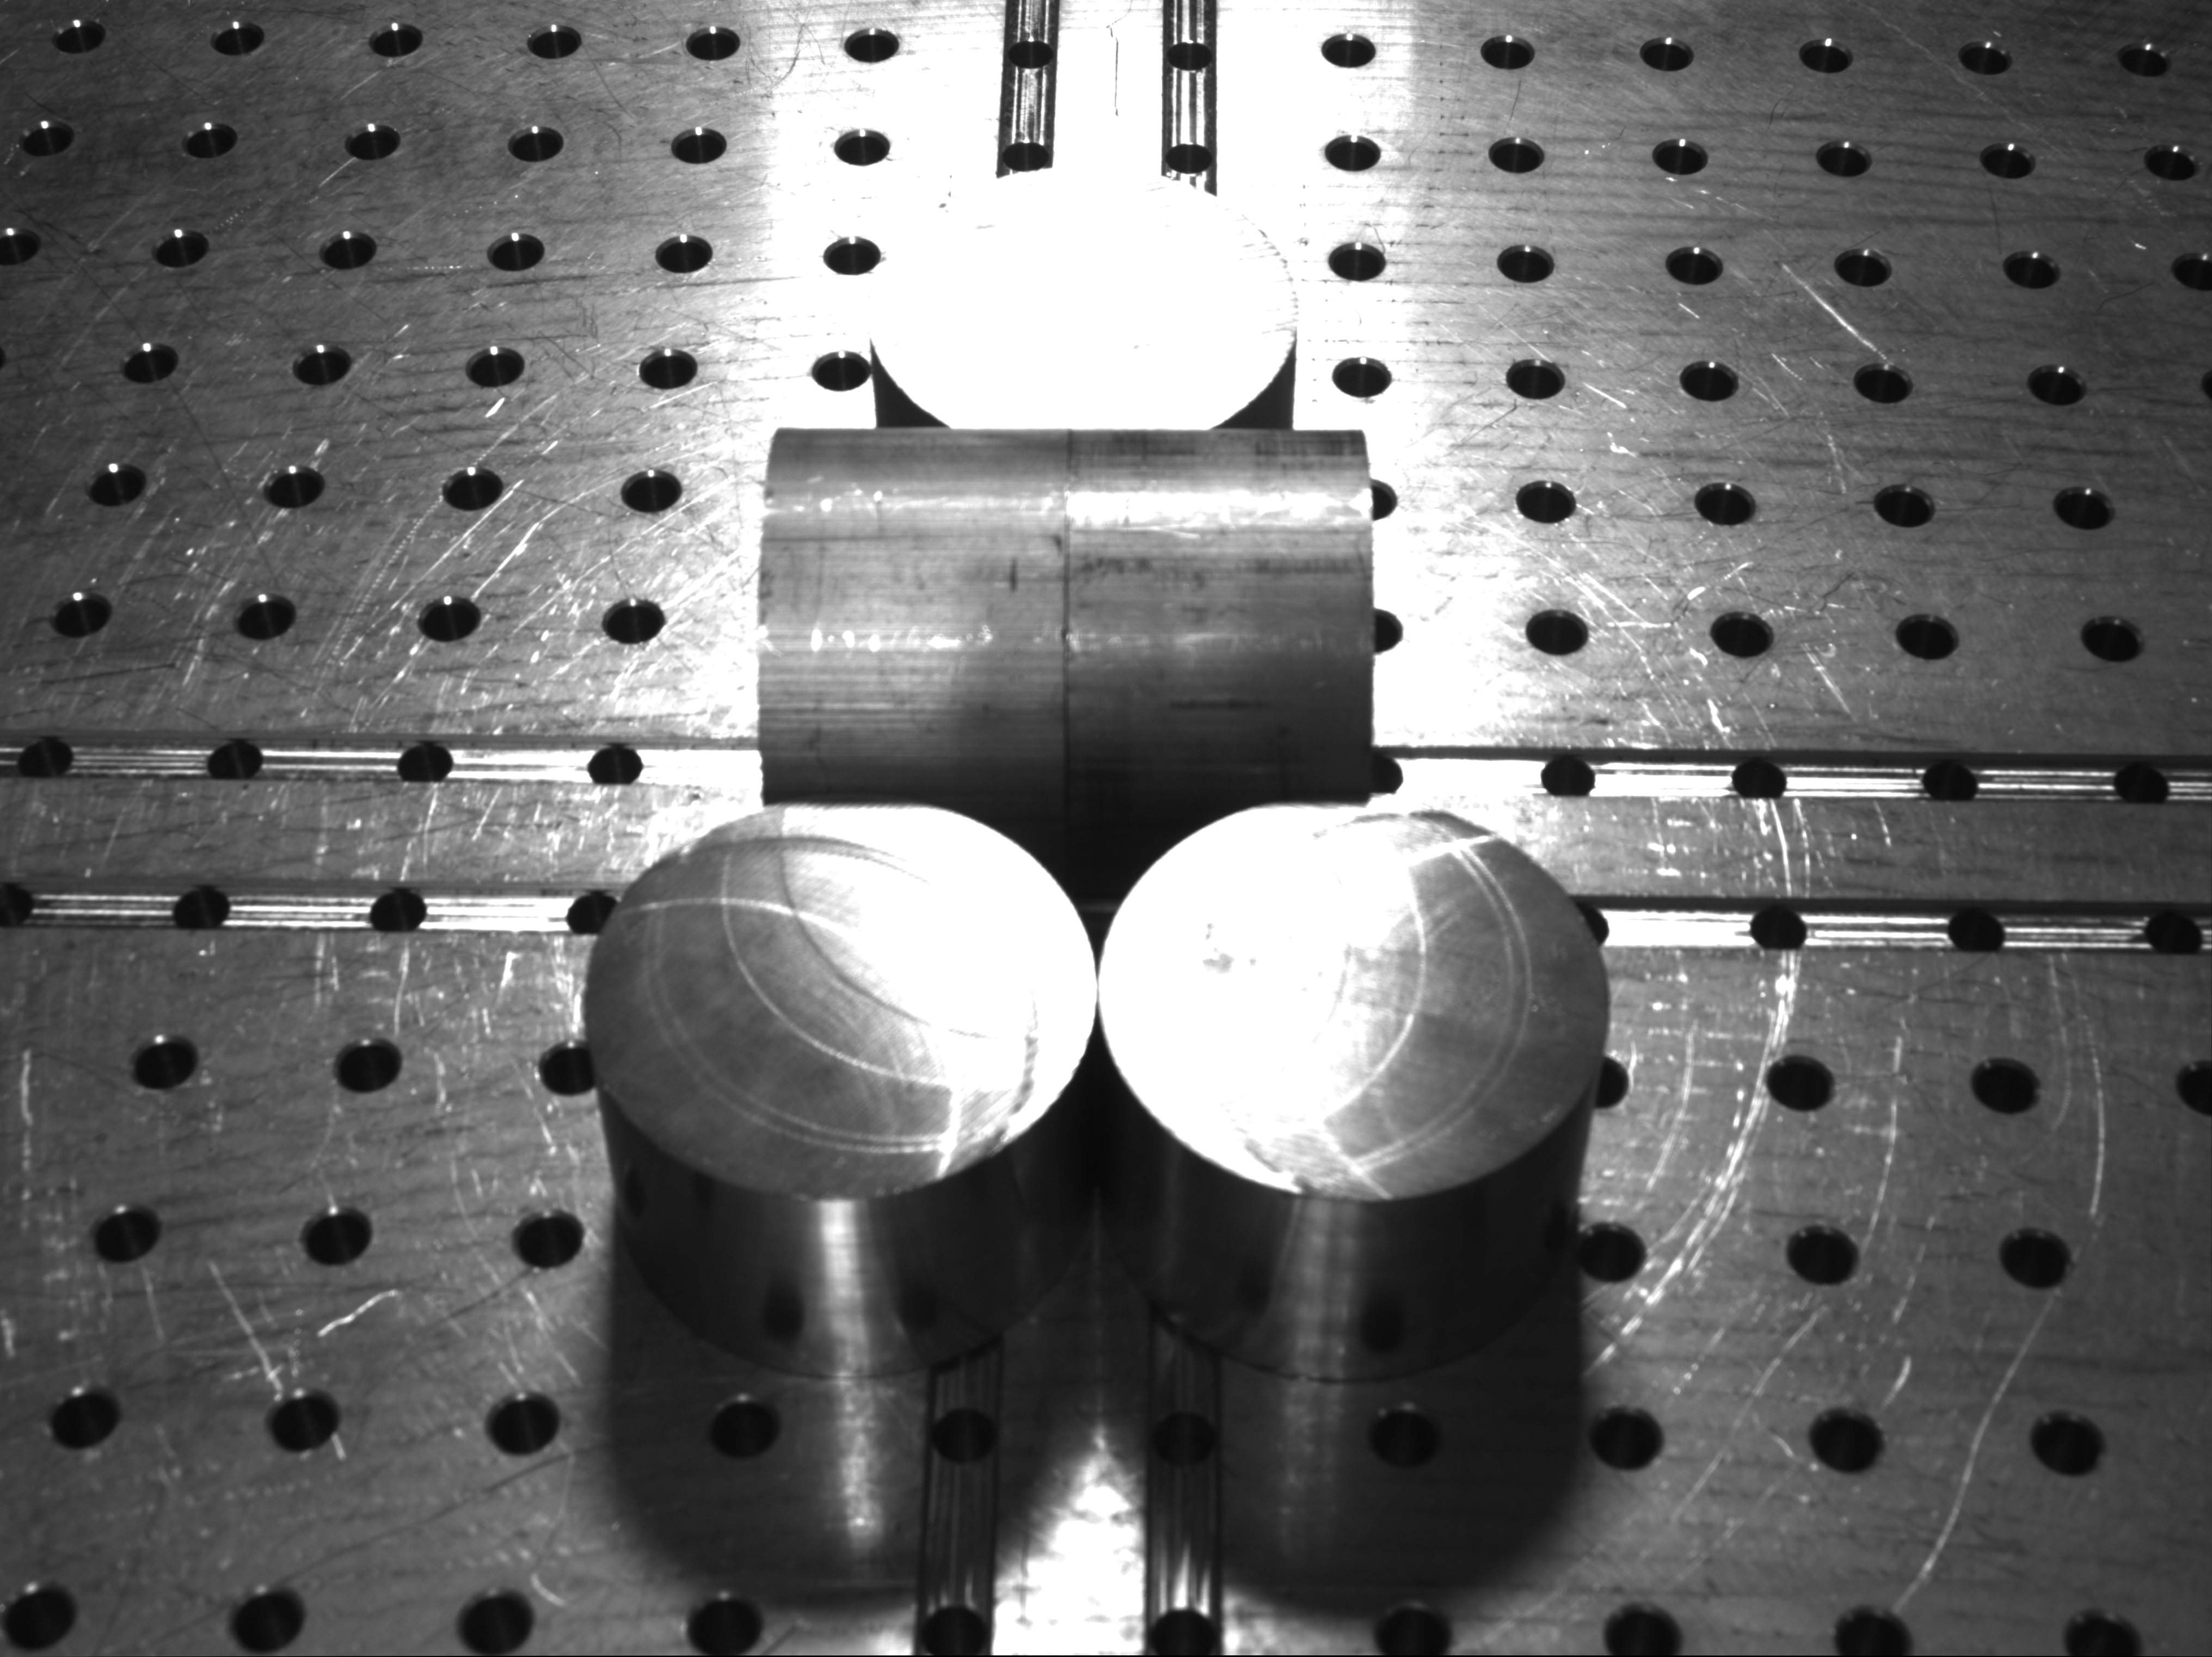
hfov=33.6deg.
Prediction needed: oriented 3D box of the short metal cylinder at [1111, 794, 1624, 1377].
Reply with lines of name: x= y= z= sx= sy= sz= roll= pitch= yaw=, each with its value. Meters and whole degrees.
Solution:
short metal cylinder: x=0.041 y=0.041 z=0.592 sx=0.080 sy=0.050 sz=0.080 roll=0 pitch=50 yaw=0

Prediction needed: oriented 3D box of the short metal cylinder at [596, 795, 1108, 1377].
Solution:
short metal cylinder: x=-0.040 y=0.041 z=0.593 sx=0.080 sy=0.050 sz=0.080 roll=0 pitch=50 yaw=0

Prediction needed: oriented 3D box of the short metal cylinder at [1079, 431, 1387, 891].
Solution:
short metal cylinder: x=0.021 y=-0.029 z=0.634 sx=0.050 sy=0.080 sz=0.080 roll=0 pitch=50 yaw=0

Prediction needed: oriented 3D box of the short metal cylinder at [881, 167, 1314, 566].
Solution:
short metal cylinder: x=-0.001 y=-0.080 z=0.697 sx=0.080 sy=0.050 sz=0.080 roll=0 pitch=50 yaw=0

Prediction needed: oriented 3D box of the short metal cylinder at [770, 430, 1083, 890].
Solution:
short metal cylinder: x=-0.029 y=-0.029 z=0.634 sx=0.050 sy=0.080 sz=0.080 roll=0 pitch=50 yaw=0
